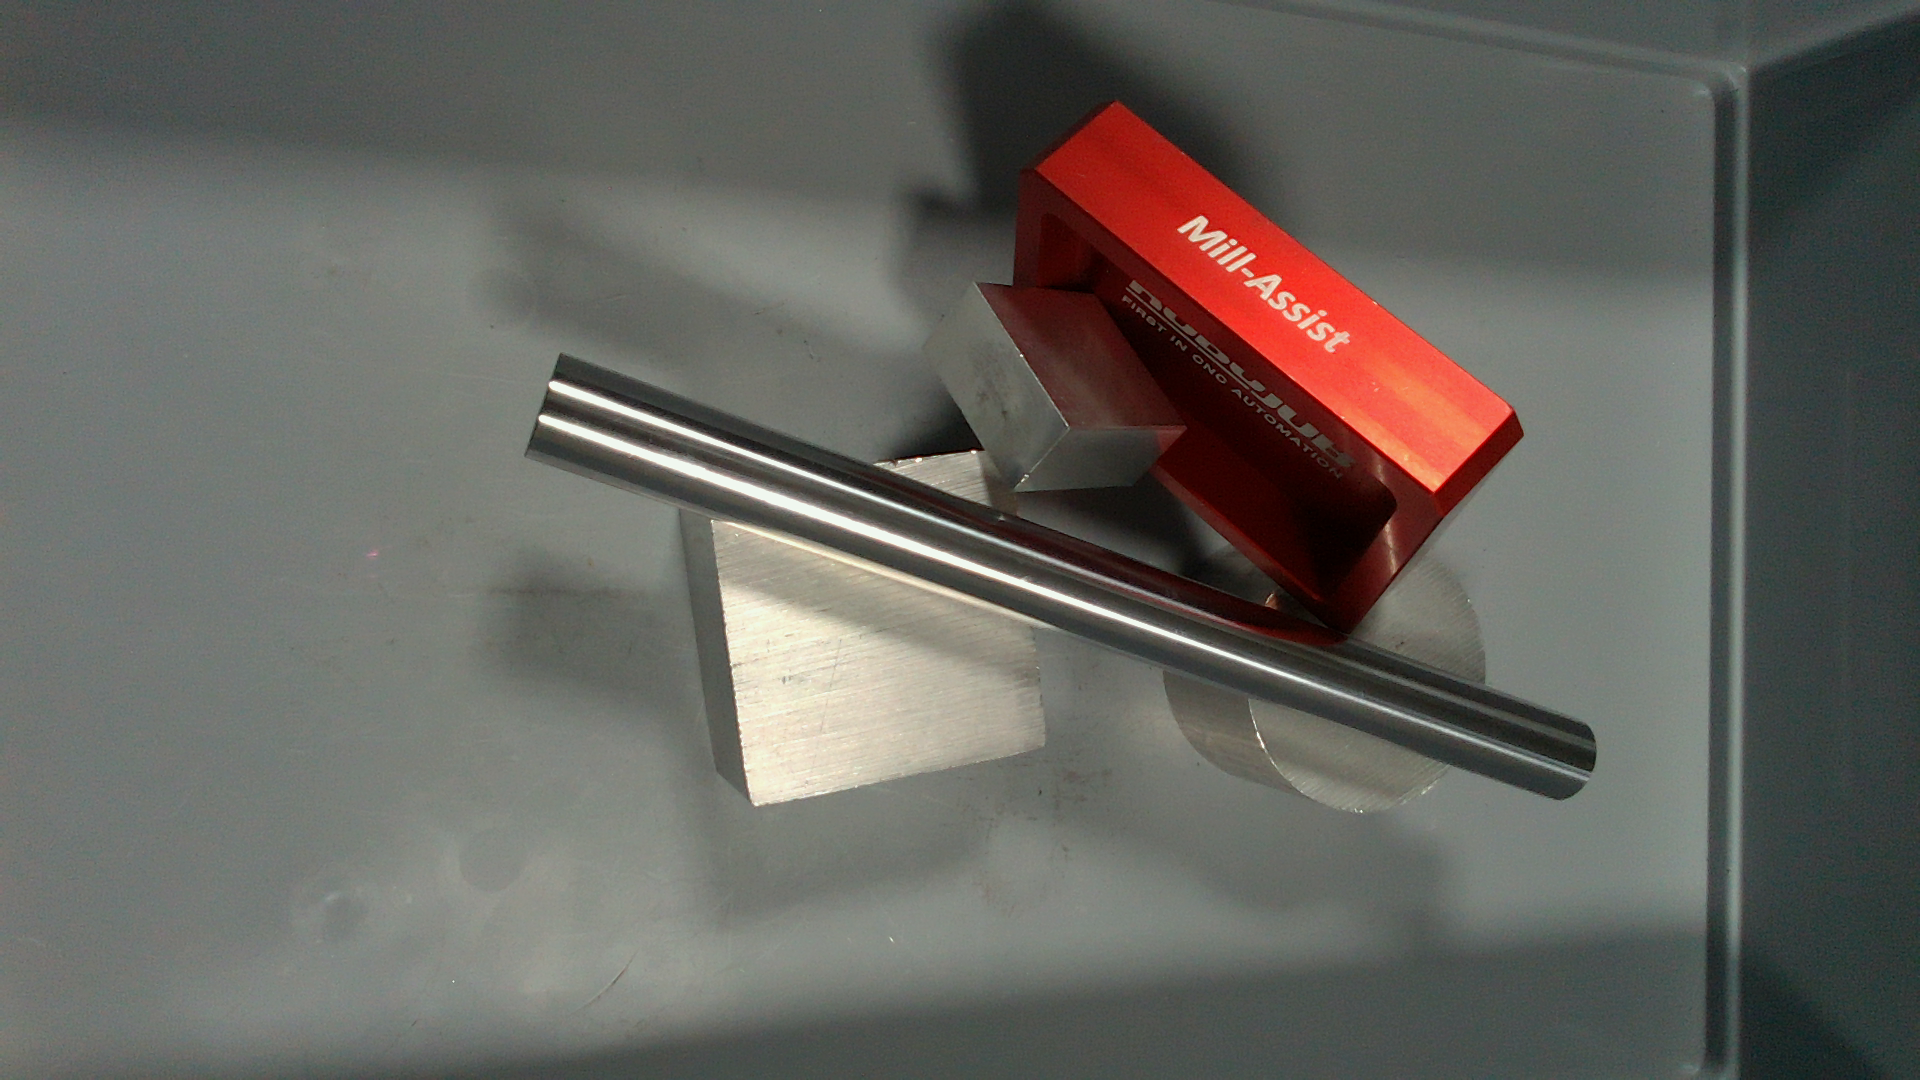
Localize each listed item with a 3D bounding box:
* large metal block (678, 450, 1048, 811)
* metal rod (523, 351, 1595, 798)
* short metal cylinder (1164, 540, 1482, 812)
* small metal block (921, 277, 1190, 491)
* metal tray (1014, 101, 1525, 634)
[{"bbox_3d":[-0.028,0.021,0.369,0.080,0.050,0.080,-8,93,-20],"label":"large metal block"},{"bbox_3d":[0.042,0.017,0.353,0.301,0.025,0.025,19,84,-19],"label":"metal rod"},{"bbox_3d":[0.109,0.038,0.419,0.080,0.050,0.080,0,90,-20],"label":"short metal cylinder"},{"bbox_3d":[0.026,-0.041,0.366,0.050,0.025,0.050,-5,56,-46],"label":"small metal block"},{"bbox_3d":[0.071,-0.042,0.357,0.030,0.090,0.130,-43,74,-16],"label":"metal tray"}]
